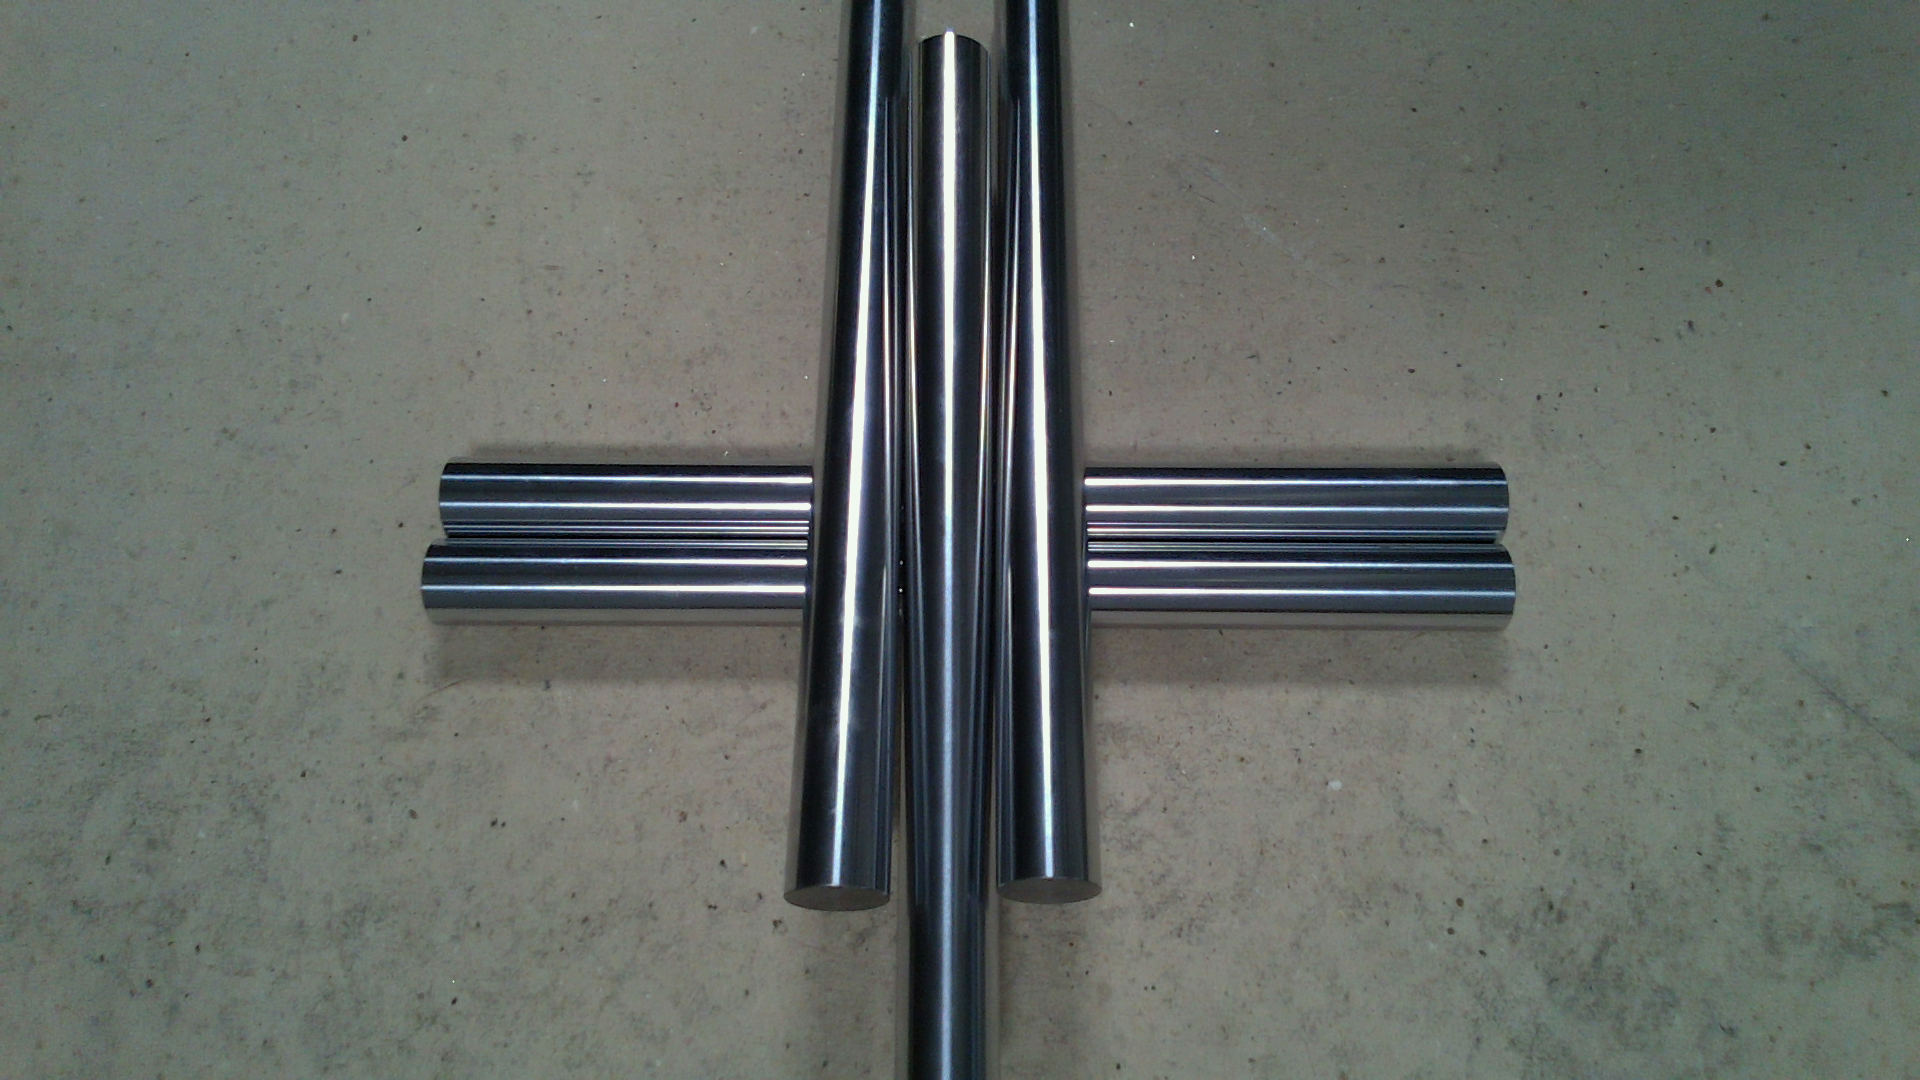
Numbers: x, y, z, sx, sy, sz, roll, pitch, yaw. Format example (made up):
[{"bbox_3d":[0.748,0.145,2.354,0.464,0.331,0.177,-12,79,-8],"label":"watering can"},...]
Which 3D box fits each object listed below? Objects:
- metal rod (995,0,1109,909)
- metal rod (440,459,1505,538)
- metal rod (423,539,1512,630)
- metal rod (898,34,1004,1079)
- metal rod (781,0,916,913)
[{"bbox_3d":[0.023,-0.049,0.390,0.025,0.025,0.300,0,62,0],"label":"metal rod"},{"bbox_3d":[0.004,-0.011,0.400,0.300,0.025,0.025,0,70,0],"label":"metal rod"},{"bbox_3d":[0.002,0.013,0.391,0.300,0.025,0.025,0,70,0],"label":"metal rod"},{"bbox_3d":[-0.003,-0.006,0.370,0.025,0.025,0.300,0,70,0],"label":"metal rod"},{"bbox_3d":[-0.028,-0.049,0.390,0.025,0.025,0.300,0,62,0],"label":"metal rod"}]
